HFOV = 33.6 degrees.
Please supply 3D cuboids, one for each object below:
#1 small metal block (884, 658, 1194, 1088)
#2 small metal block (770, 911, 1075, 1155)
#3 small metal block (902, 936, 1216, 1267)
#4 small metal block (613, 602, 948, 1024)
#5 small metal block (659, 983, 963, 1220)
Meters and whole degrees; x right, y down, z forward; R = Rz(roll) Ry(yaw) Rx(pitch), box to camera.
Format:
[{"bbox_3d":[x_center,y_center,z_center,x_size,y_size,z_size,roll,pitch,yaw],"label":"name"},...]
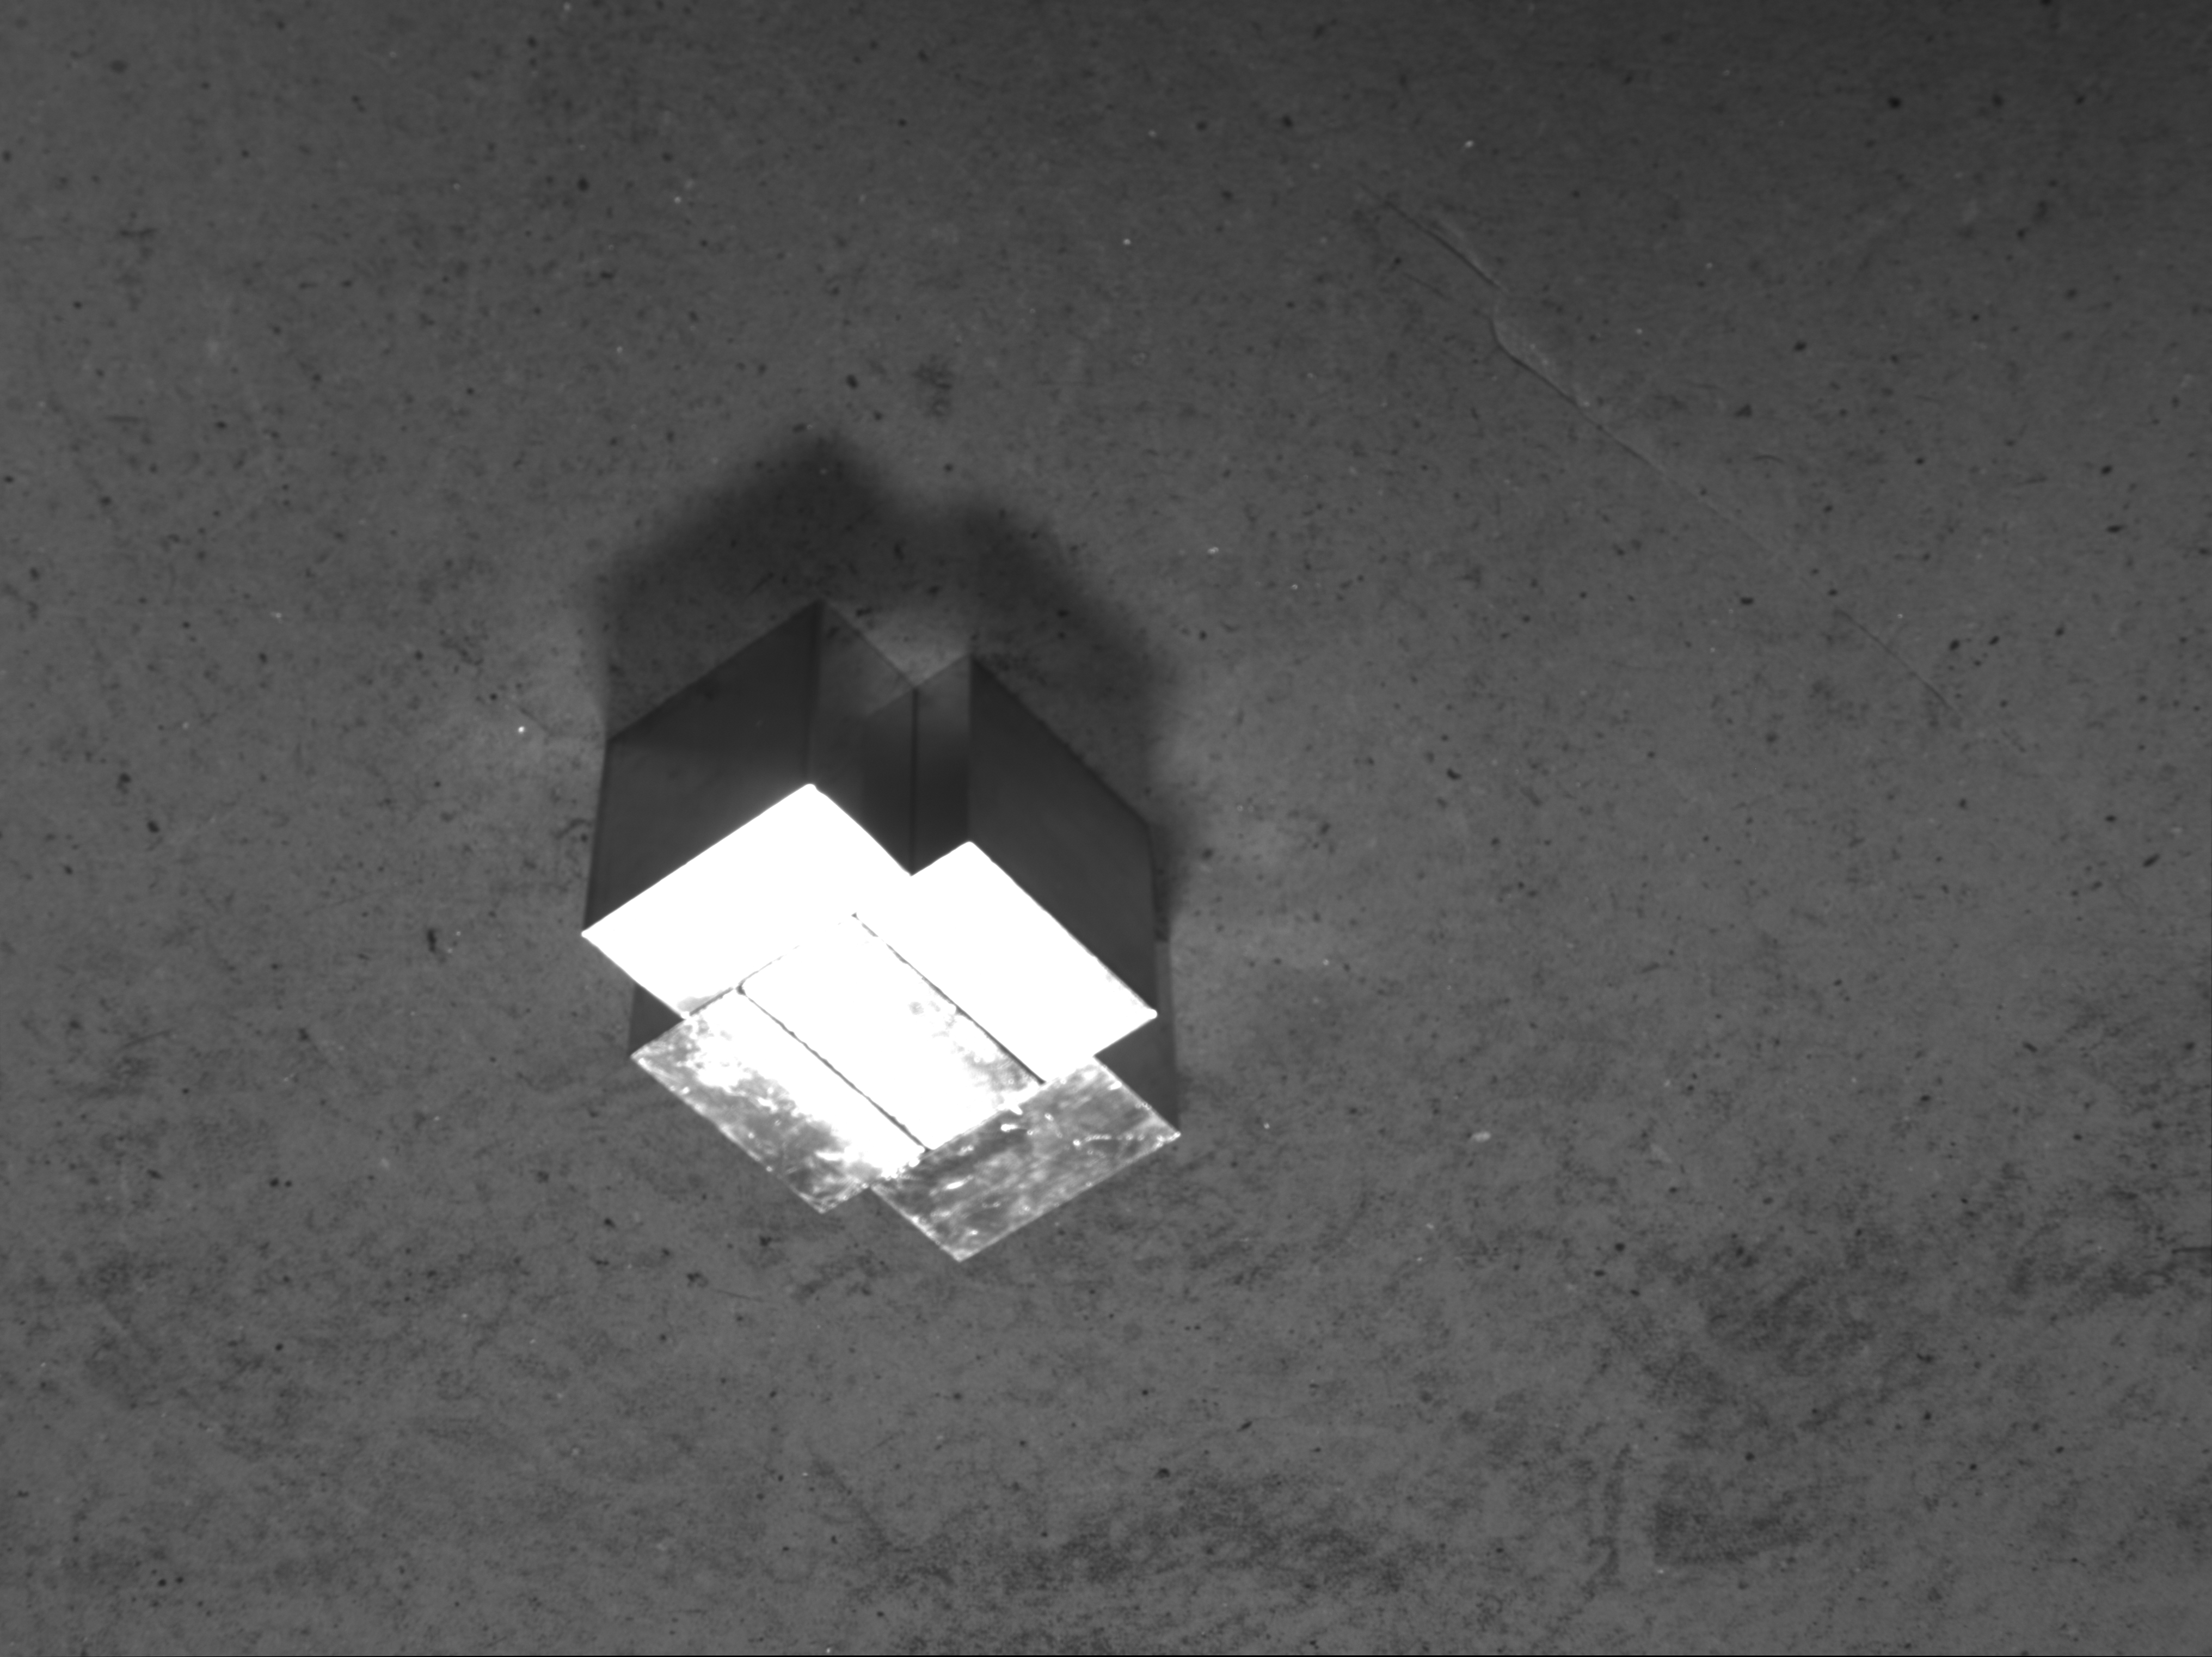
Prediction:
[{"bbox_3d":[-0.011,0.008,0.627,0.025,0.050,0.050,-33,123,23],"label":"small metal block"},{"bbox_3d":[-0.031,0.020,0.637,0.025,0.050,0.050,-32,124,23],"label":"small metal block"},{"bbox_3d":[-0.009,0.043,0.657,0.050,0.050,0.025,-32,124,23],"label":"small metal block"},{"bbox_3d":[-0.054,-0.003,0.617,0.050,0.050,0.025,-32,124,23],"label":"small metal block"},{"bbox_3d":[-0.051,0.032,0.647,0.025,0.050,0.050,-32,124,23],"label":"small metal block"}]
